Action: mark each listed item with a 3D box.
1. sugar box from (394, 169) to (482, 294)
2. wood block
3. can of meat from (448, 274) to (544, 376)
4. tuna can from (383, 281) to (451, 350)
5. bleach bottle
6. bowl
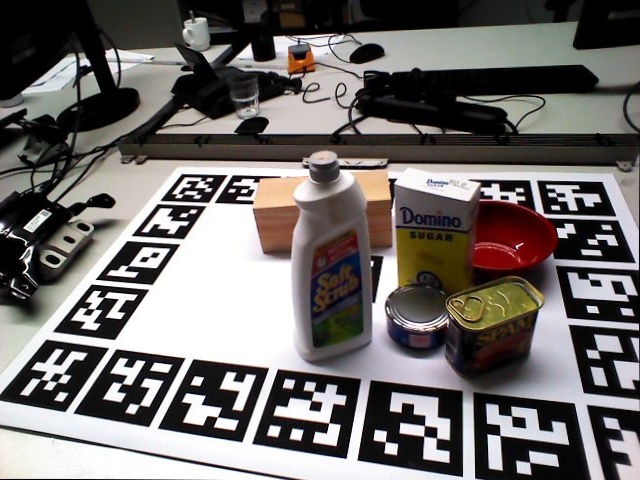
[{"bbox_3d":[0.147,-0.001,0.629,0.093,0.177,0.045,14,44,33],"label":"sugar box"},{"bbox_3d":[0.006,-0.044,0.800,0.207,0.090,0.090,-3,41,6],"label":"wood block"},{"bbox_3d":[0.196,0.095,0.578,0.102,0.084,0.058,-15,34,-11],"label":"can of meat"},{"bbox_3d":[0.120,0.092,0.630,0.086,0.034,0.085,-7,39,5],"label":"tuna can"},{"bbox_3d":[0.006,0.019,0.574,0.102,0.251,0.068,-14,36,-6],"label":"bleach bottle"},{"bbox_3d":[0.249,0.003,0.710,0.162,0.055,0.161,-9,35,6],"label":"bowl"}]
